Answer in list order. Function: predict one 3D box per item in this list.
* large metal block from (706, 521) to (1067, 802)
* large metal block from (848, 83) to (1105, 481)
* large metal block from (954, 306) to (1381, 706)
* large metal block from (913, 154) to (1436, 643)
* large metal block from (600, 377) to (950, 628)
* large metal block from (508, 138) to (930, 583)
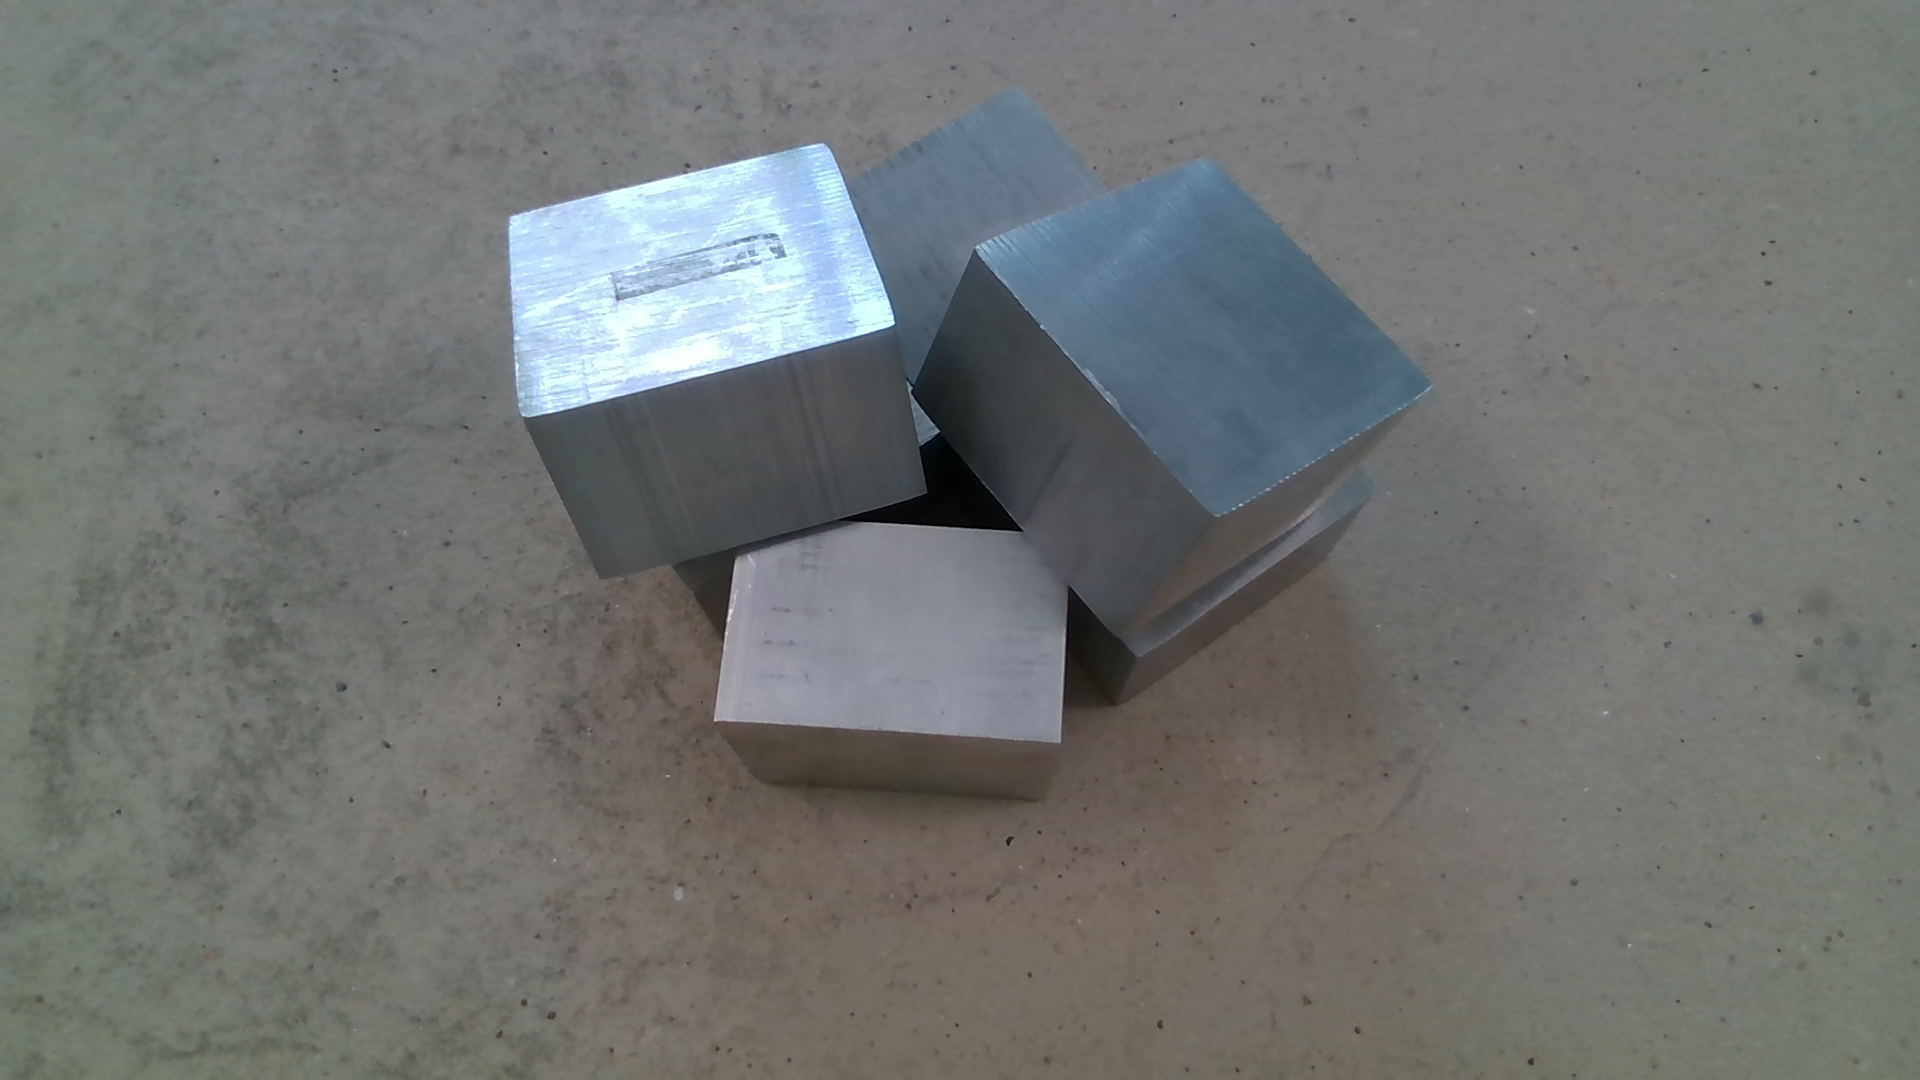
[{"bbox_3d":[-0.016,0.034,0.355,0.080,0.080,0.050,3,70,1],"label":"large metal block"},{"bbox_3d":[0.006,-0.073,0.409,0.080,0.050,0.080,-34,74,-11],"label":"large metal block"},{"bbox_3d":[0.054,-0.014,0.386,0.080,0.050,0.080,-34,75,-11],"label":"large metal block"},{"bbox_3d":[0.048,-0.036,0.325,0.080,0.050,0.080,-29,72,-34],"label":"large metal block"},{"bbox_3d":[-0.059,-0.029,0.394,0.080,0.050,0.080,-34,74,-11],"label":"large metal block"},{"bbox_3d":[-0.059,-0.045,0.330,0.080,0.050,0.080,-16,46,-5],"label":"large metal block"}]
